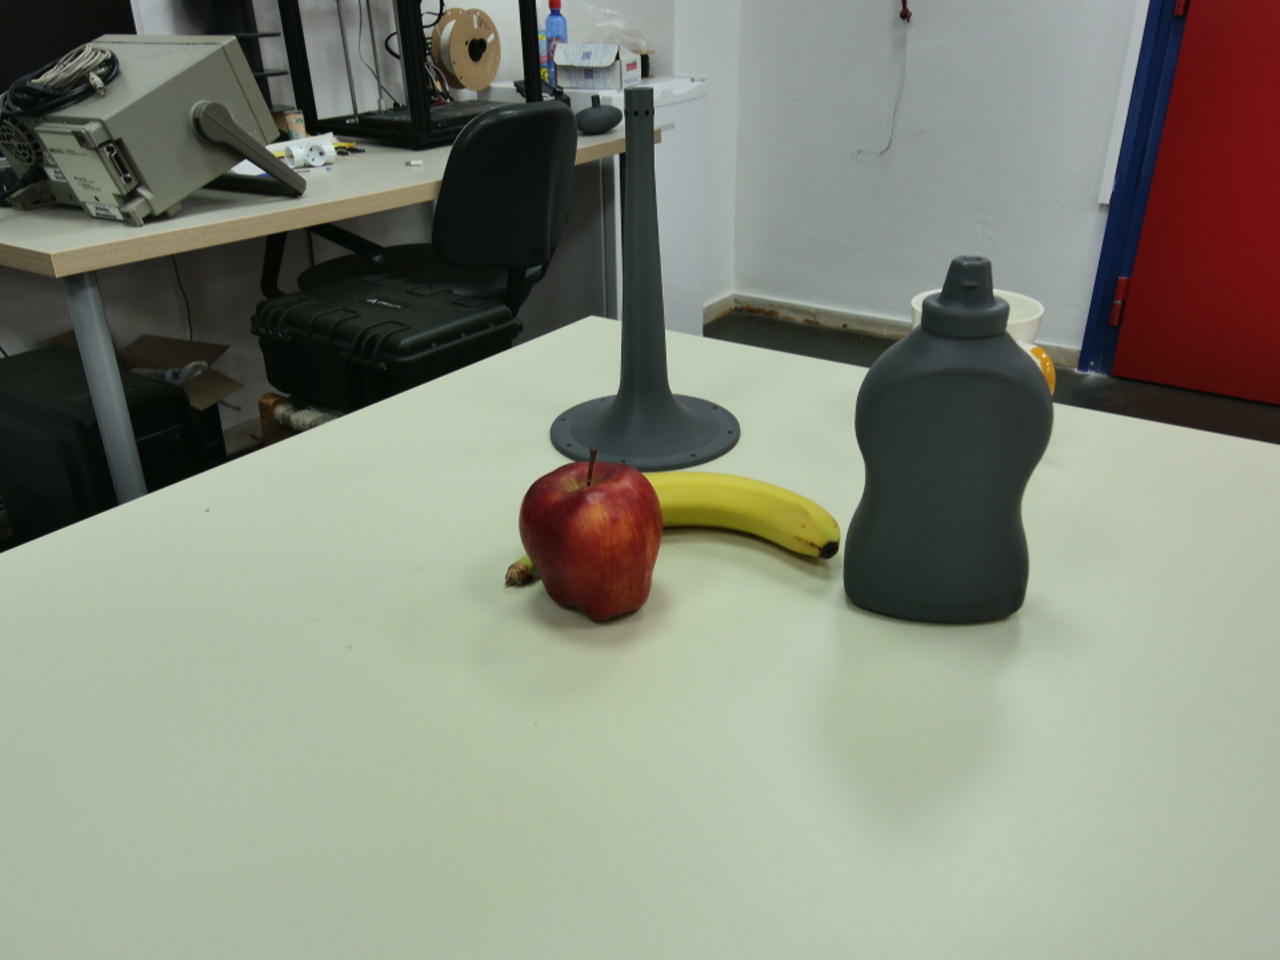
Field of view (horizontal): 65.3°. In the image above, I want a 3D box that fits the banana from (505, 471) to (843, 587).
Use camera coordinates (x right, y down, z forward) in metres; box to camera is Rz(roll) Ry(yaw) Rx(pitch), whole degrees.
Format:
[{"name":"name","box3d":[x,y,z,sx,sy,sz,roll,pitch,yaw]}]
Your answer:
[{"name":"banana","box3d":[0.019,0.025,0.617,0.196,0.041,0.094,0,25,0]}]
